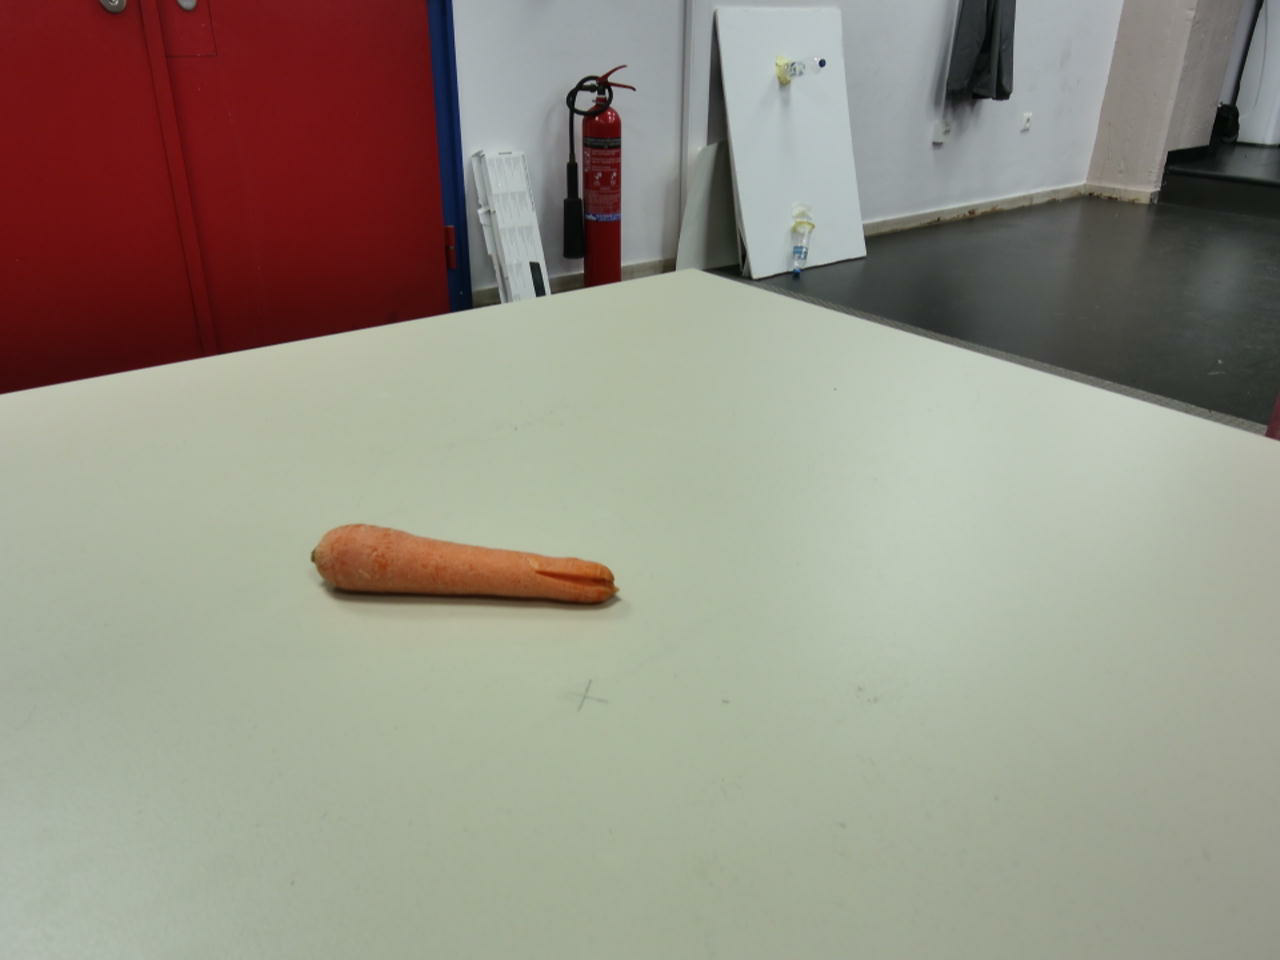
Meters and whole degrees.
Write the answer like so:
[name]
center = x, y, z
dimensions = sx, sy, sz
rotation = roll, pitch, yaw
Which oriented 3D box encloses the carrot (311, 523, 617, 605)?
[carrot]
center = -0.078, 0.038, 0.439
dimensions = 0.136, 0.032, 0.030
rotation = 3, 24, 6
